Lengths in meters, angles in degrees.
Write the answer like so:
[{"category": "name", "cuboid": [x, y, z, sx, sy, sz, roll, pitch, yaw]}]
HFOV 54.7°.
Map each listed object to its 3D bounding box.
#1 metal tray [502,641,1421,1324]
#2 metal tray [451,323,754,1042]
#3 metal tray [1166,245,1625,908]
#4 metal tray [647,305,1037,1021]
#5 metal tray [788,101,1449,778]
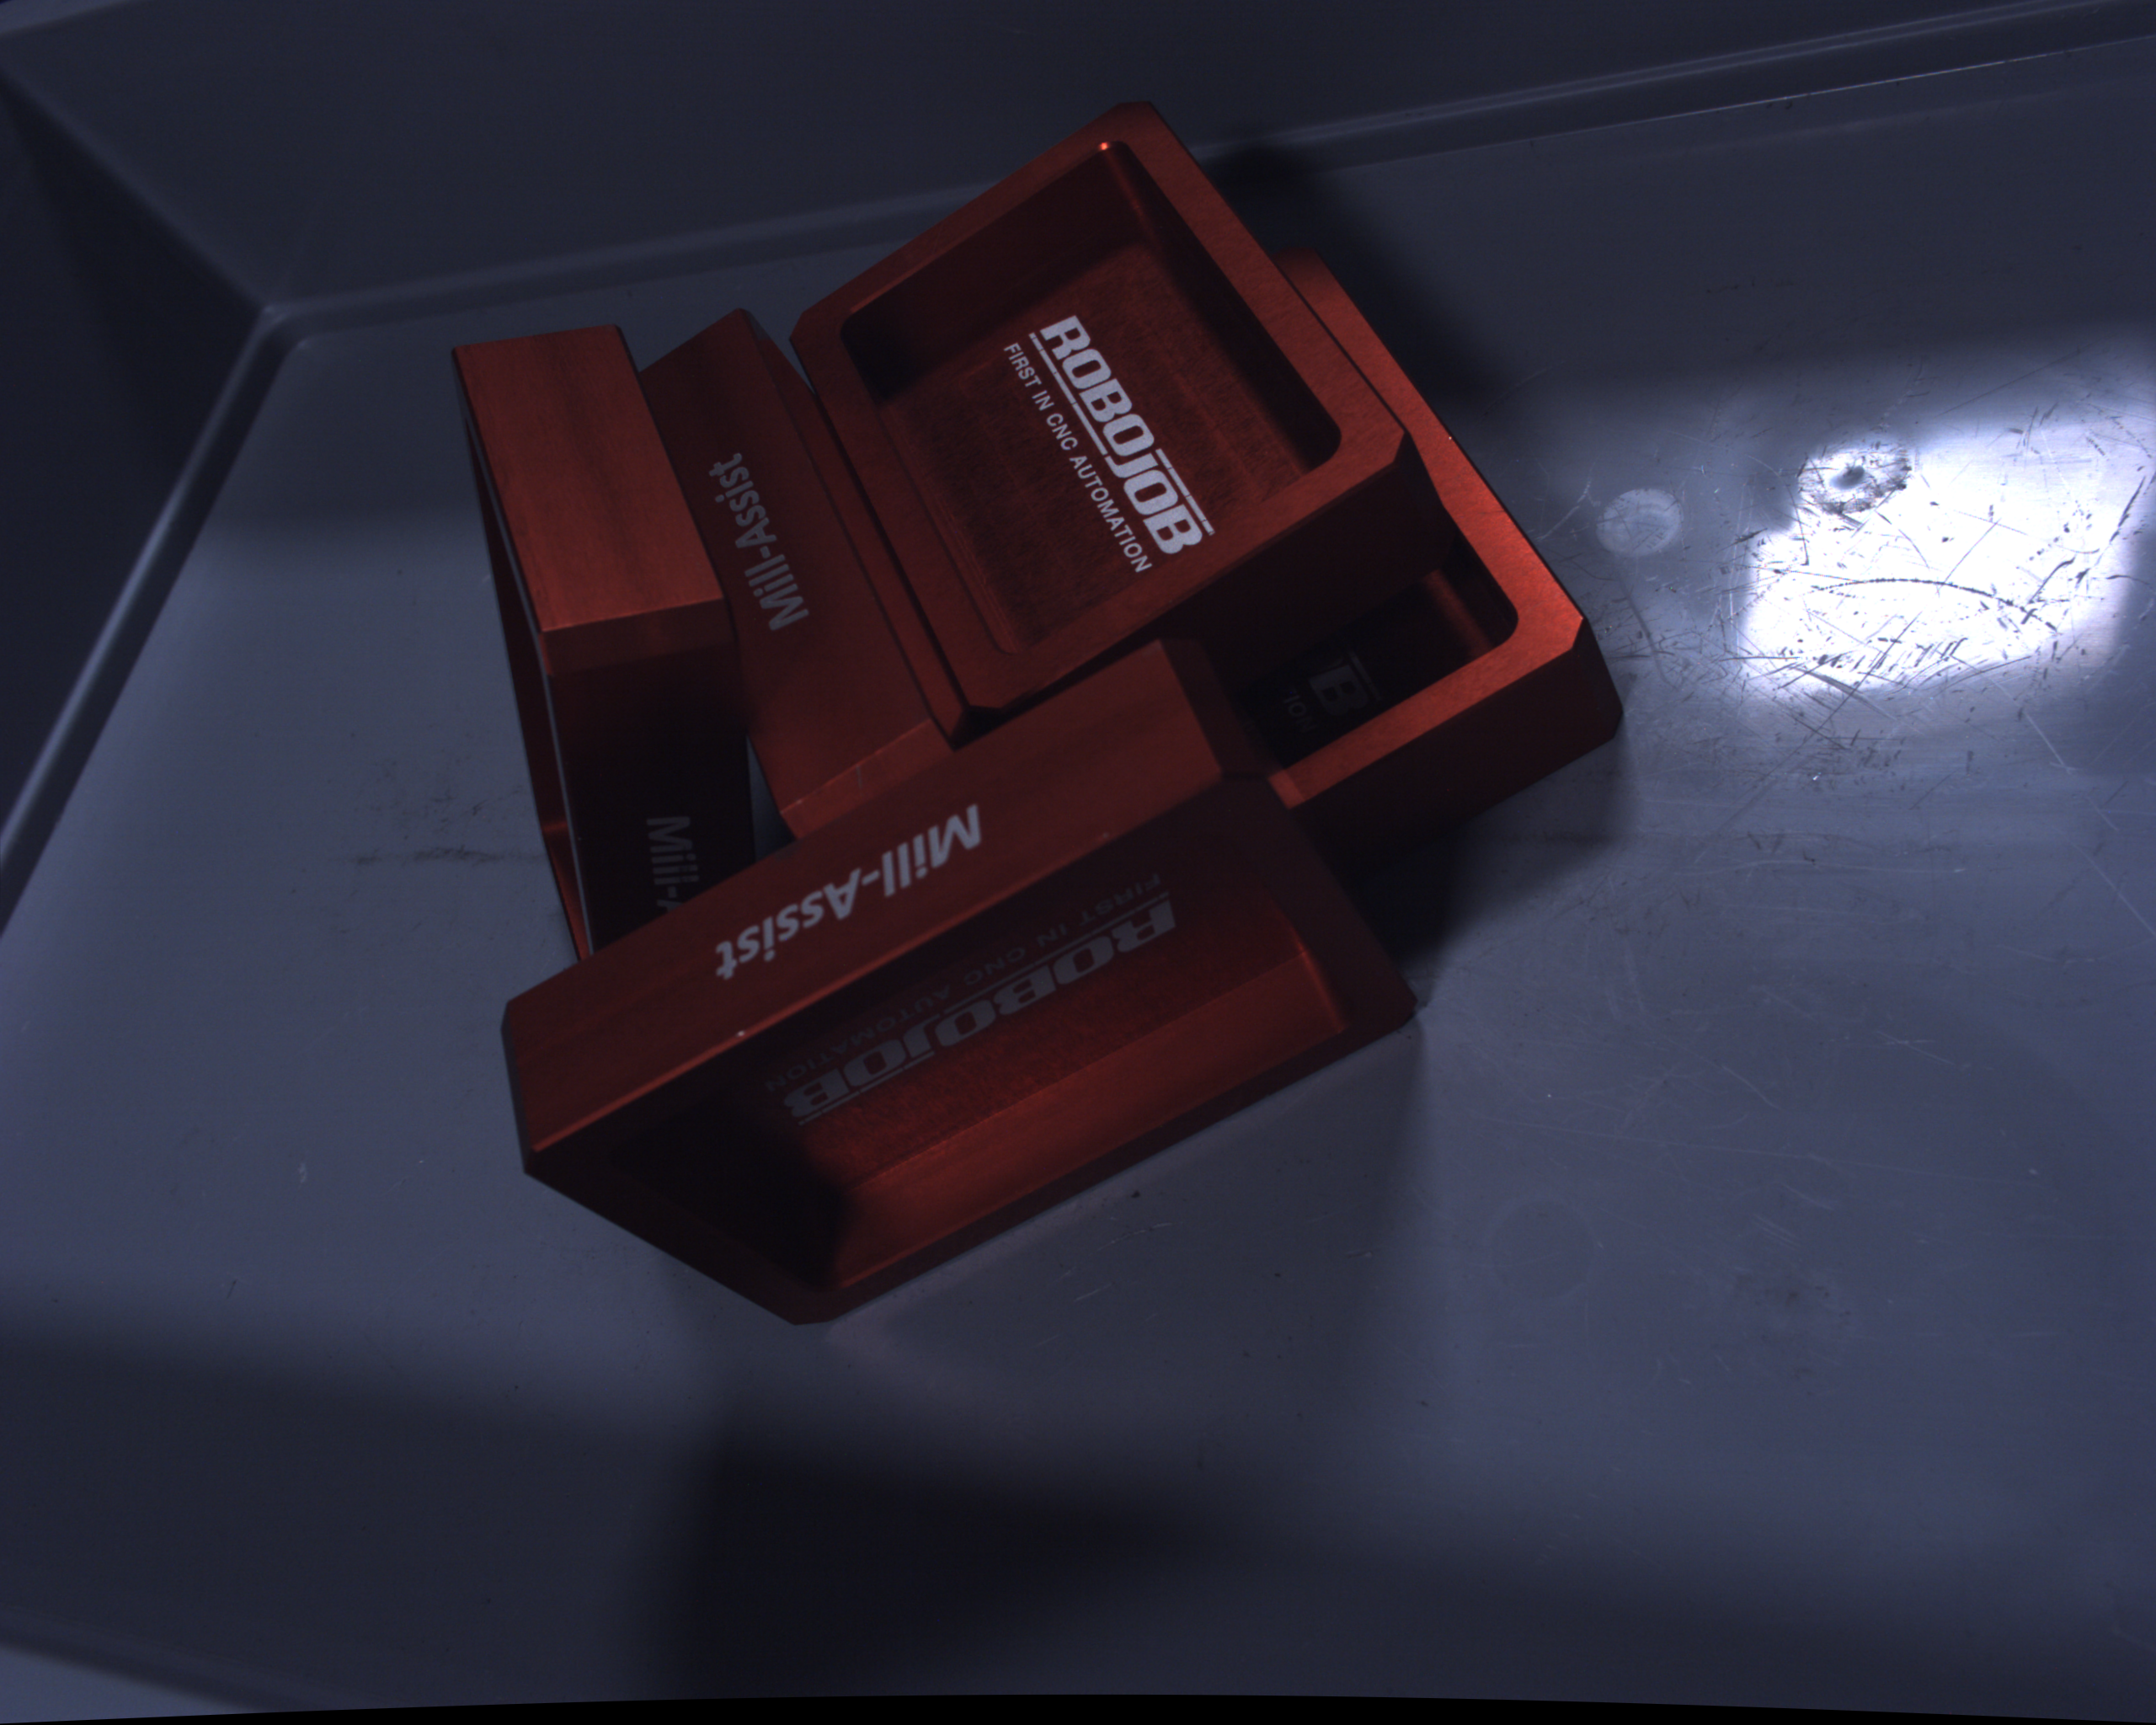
[{"category": "metal tray", "cuboid": [-0.017, 0.026, 0.354, 0.130, 0.090, 0.030, -29, 52, 10]}, {"category": "metal tray", "cuboid": [-0.087, -0.023, 0.396, 0.030, 0.129, 0.090, -13, 50, -17]}, {"category": "metal tray", "cuboid": [0.037, -0.057, 0.416, 0.090, 0.030, 0.130, -31, 51, 10]}, {"category": "metal tray", "cuboid": [-0.038, -0.037, 0.402, 0.030, 0.090, 0.130, -32, 52, 7]}, {"category": "metal tray", "cuboid": [0.003, -0.085, 0.411, 0.090, 0.030, 0.130, -32, 51, 7]}]
